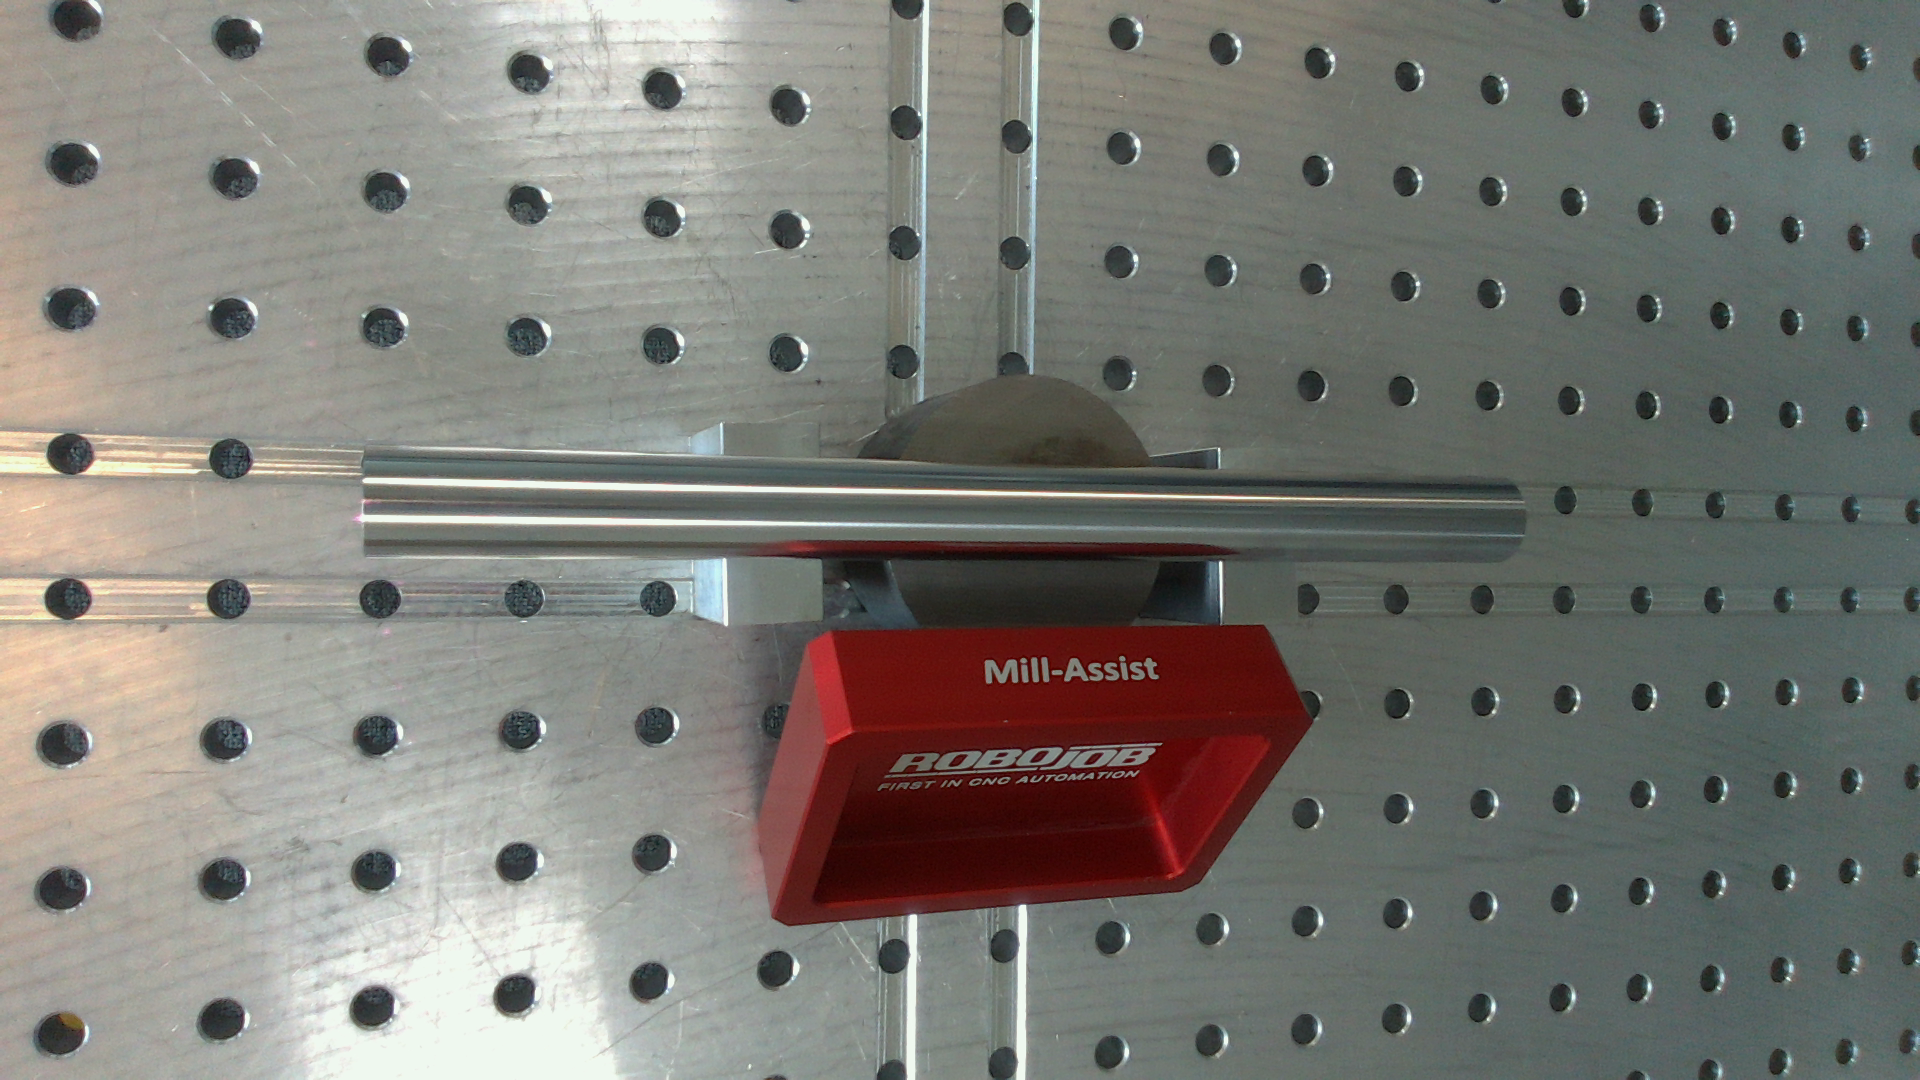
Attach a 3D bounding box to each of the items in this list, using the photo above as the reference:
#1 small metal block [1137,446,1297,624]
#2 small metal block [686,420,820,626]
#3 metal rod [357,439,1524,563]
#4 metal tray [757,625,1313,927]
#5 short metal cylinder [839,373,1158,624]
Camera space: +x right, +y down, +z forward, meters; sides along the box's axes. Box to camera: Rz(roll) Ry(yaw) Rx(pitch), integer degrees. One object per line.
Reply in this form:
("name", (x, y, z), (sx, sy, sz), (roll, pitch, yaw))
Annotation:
("small metal block", (0.075, -0.001, 0.410), (0.025, 0.050, 0.050), (-1, 90, -20))
("small metal block", (-0.055, -0.004, 0.363), (0.025, 0.050, 0.050), (-1, 90, -20))
("metal rod", (0.013, -0.007, 0.347), (0.301, 0.025, 0.025), (1, 90, -20))
("metal tray", (0.017, 0.064, 0.370), (0.130, 0.090, 0.030), (0, 47, -20))
("short metal cylinder", (0.010, -0.004, 0.386), (0.080, 0.050, 0.080), (0, 90, -20))
